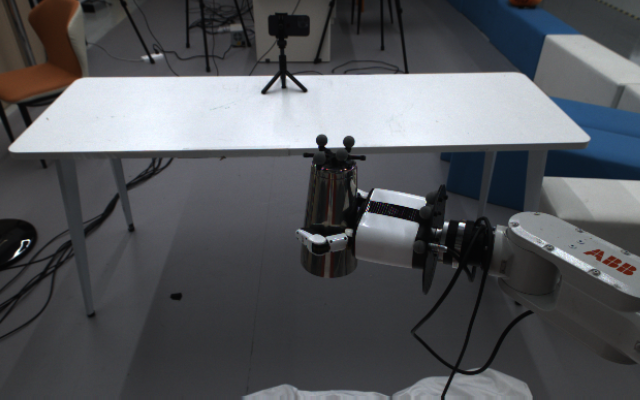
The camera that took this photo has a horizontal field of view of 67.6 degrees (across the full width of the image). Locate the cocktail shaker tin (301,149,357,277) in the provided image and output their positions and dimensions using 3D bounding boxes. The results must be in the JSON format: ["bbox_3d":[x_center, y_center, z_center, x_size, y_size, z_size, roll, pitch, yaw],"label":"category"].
[{"bbox_3d":[0.019,0.020,0.729,0.093,0.170,0.093,2,28,-1],"label":"cocktail shaker tin"}]
